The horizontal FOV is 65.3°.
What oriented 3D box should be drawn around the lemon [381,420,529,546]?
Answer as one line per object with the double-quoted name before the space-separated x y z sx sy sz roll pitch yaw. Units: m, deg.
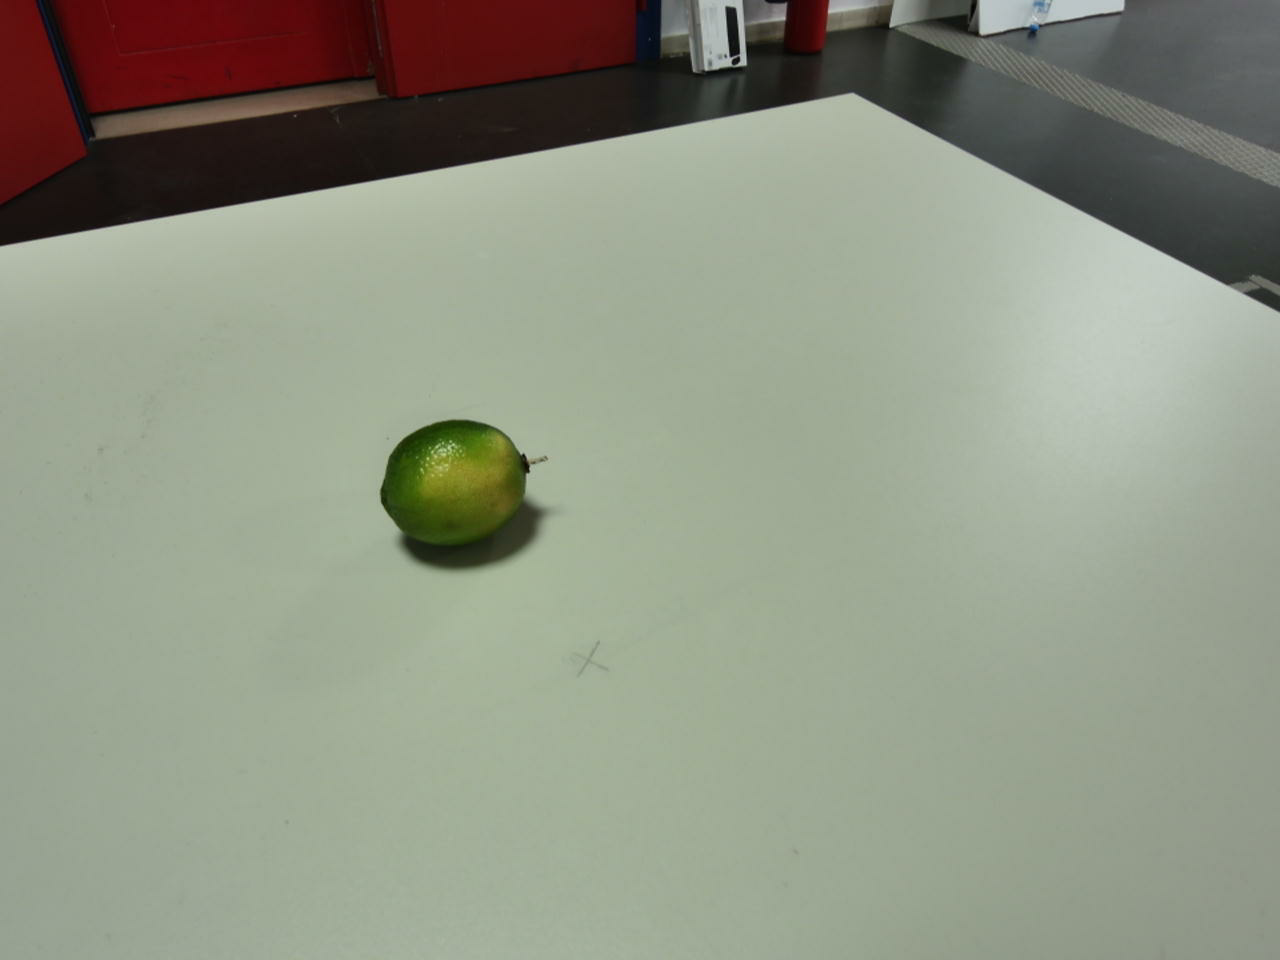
"lemon" -0.077 0.001 0.411 0.055 0.050 0.054 16 40 18
